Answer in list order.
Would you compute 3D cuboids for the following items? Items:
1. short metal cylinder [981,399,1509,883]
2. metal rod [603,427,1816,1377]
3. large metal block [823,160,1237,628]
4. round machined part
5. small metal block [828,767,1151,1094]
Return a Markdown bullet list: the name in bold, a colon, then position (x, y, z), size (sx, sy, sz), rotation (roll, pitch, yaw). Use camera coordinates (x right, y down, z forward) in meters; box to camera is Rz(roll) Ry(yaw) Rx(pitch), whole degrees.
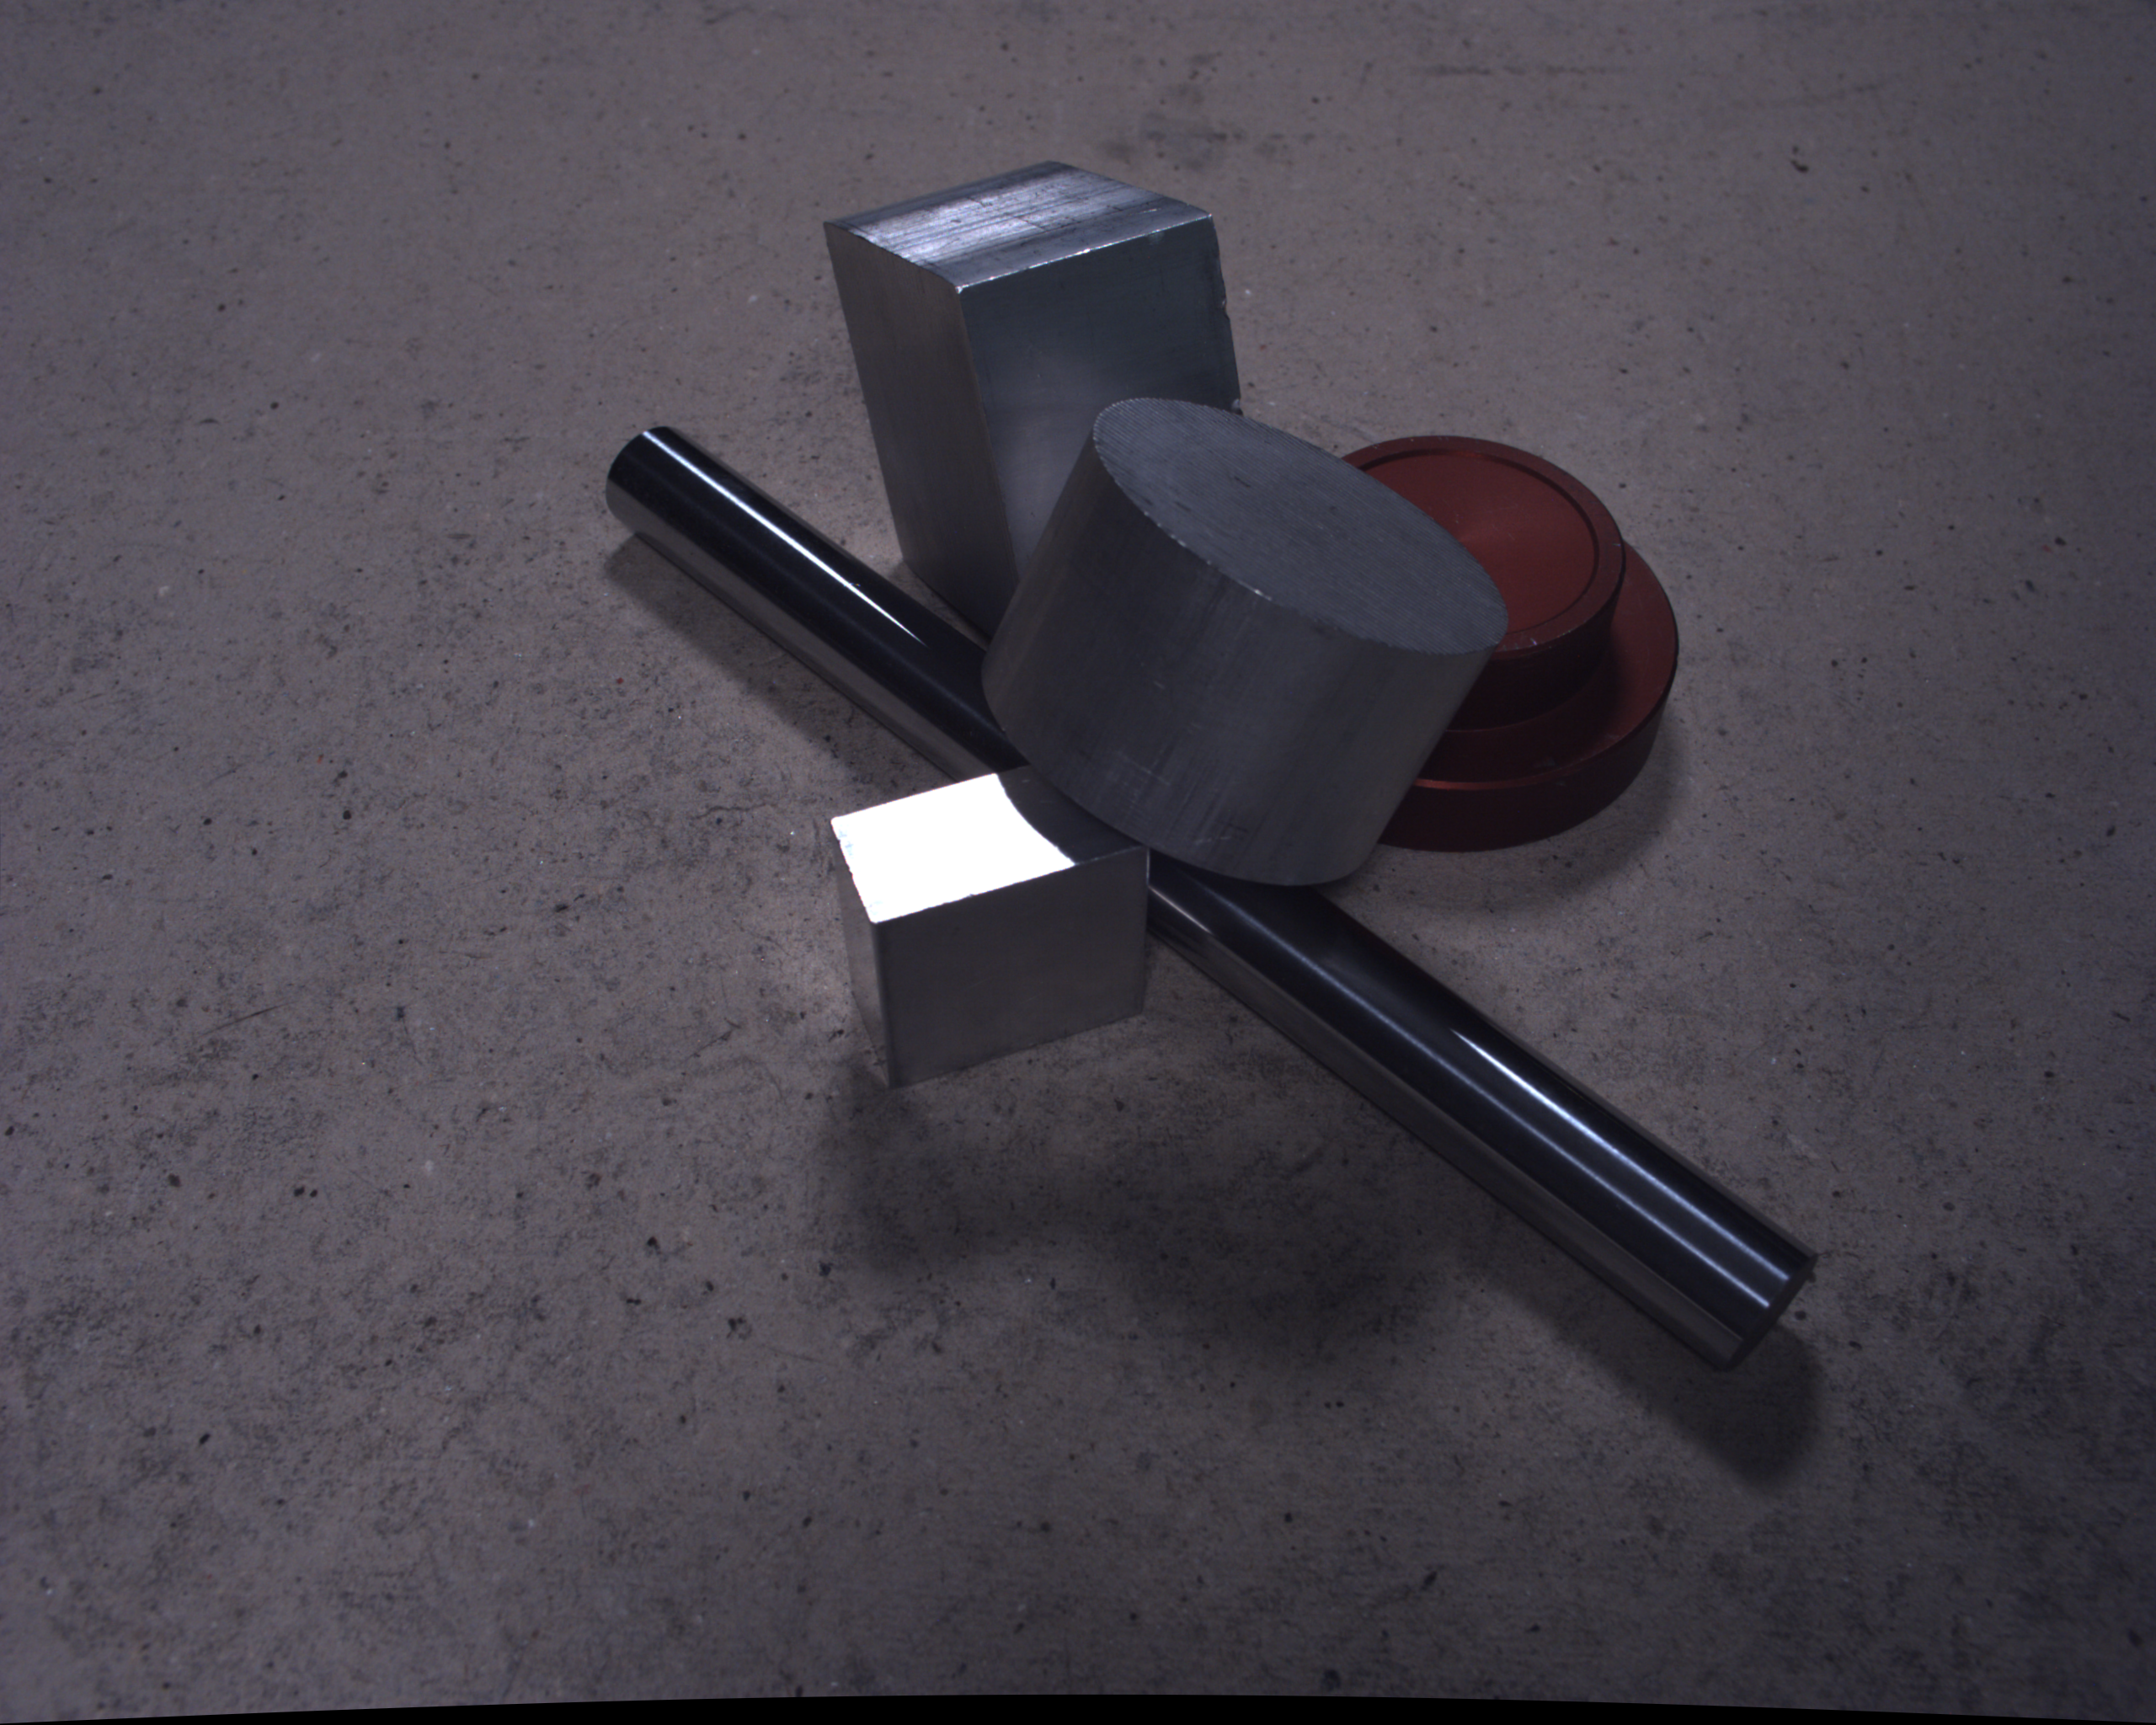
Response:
- **short metal cylinder**: position (0.029, -0.041, 0.375), size (0.080, 0.050, 0.080), rotation (19, 31, -12)
- **metal rod**: position (0.008, -0.007, 0.411), size (0.300, 0.025, 0.025), rotation (38, 59, 27)
- **large metal block**: position (-0.008, -0.095, 0.435), size (0.050, 0.080, 0.080), rotation (-22, 32, -16)
- **round machined part**: position (0.077, -0.053, 0.438), size (0.099, 0.042, 0.098), rotation (0, 50, 0)
- **small metal block**: position (-0.016, 0.011, 0.380), size (0.050, 0.050, 0.025), rotation (-16, 52, -14)
